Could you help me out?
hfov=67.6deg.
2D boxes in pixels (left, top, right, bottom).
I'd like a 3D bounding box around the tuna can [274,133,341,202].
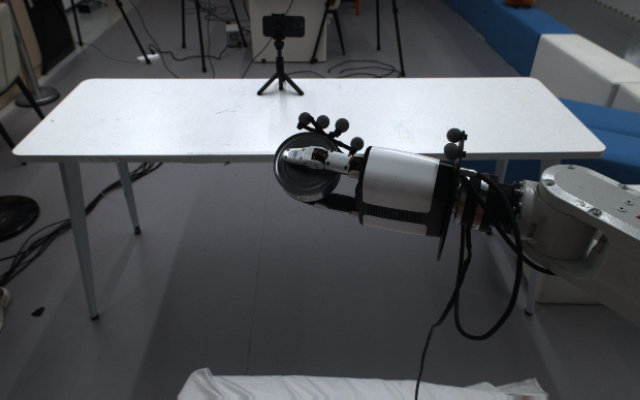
[{"bbox_3d":[-0.015,-0.043,0.626,0.085,0.034,0.085,-2,71,6],"label":"tuna can"}]
